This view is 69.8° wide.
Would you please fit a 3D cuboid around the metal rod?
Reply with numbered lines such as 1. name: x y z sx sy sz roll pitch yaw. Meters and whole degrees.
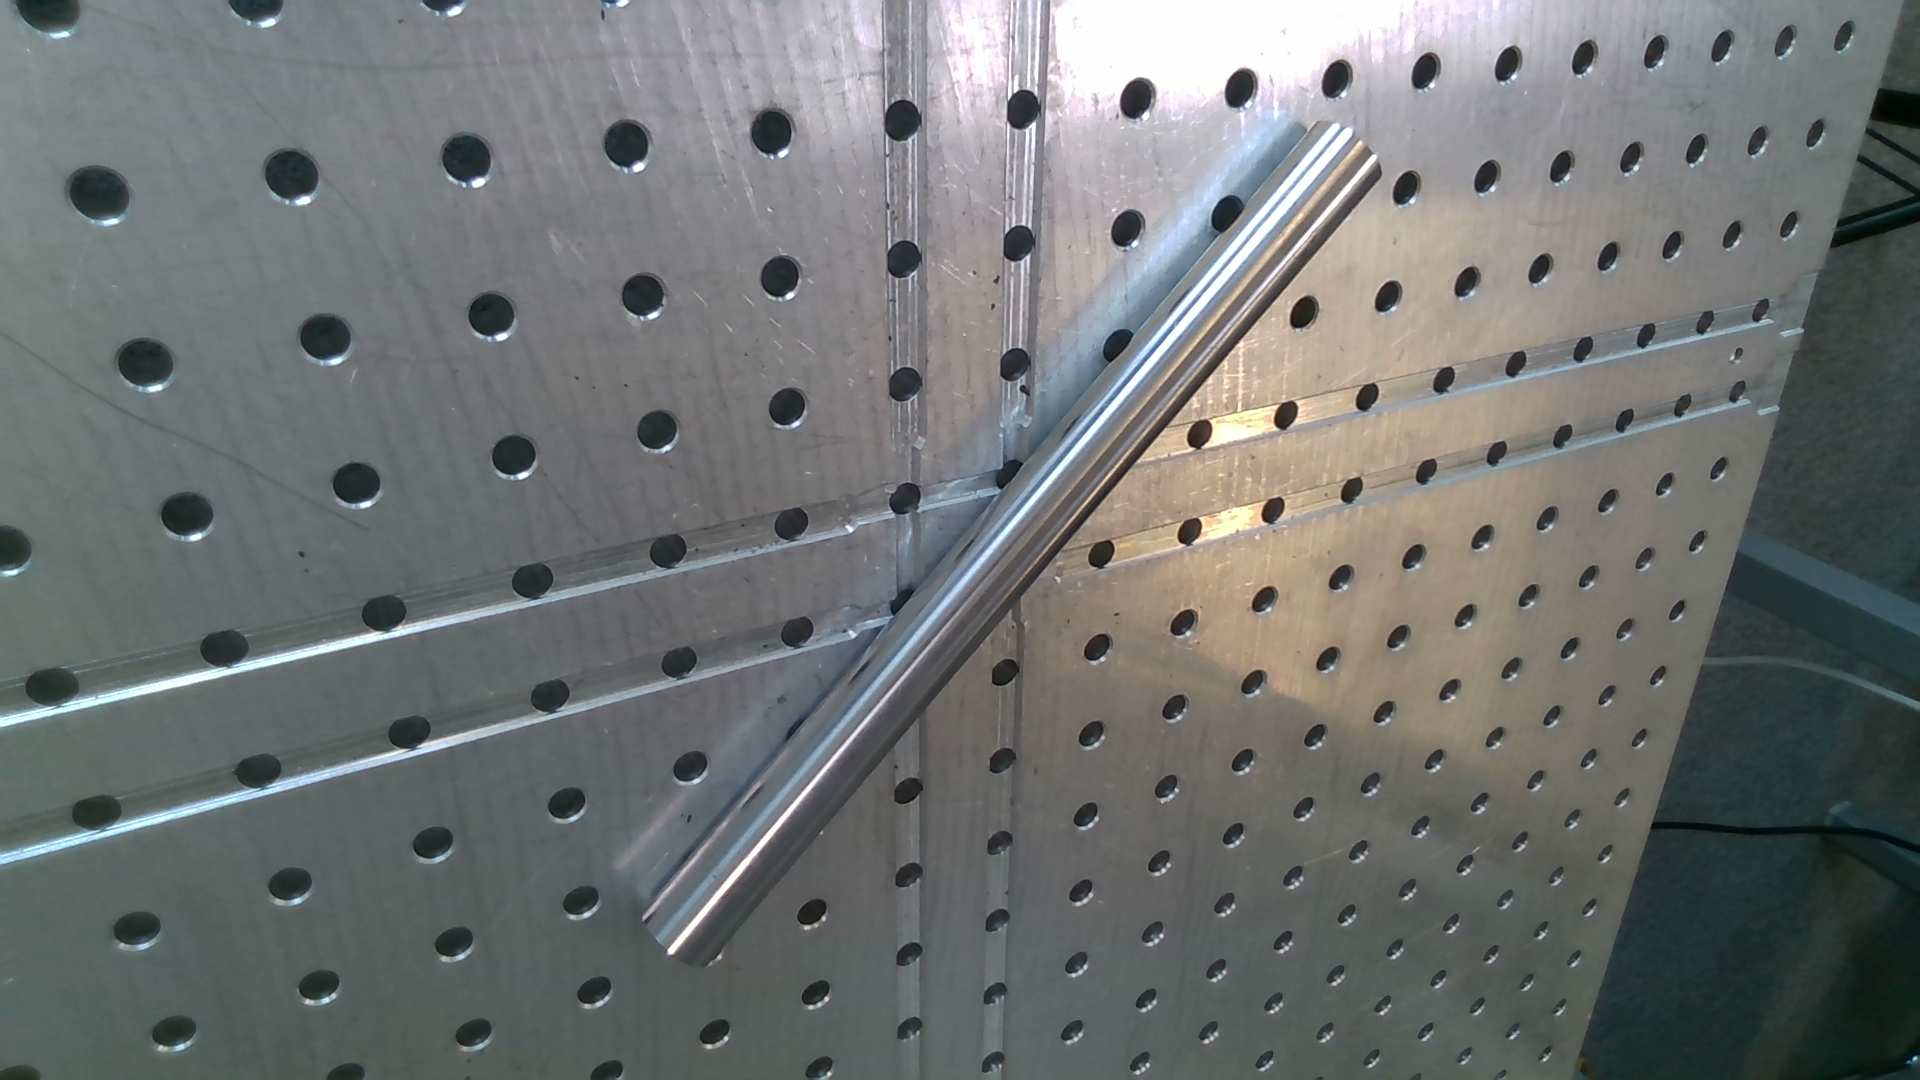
1. metal rod: 0.014 0.000 0.401 0.300 0.025 0.025 -50 129 1
